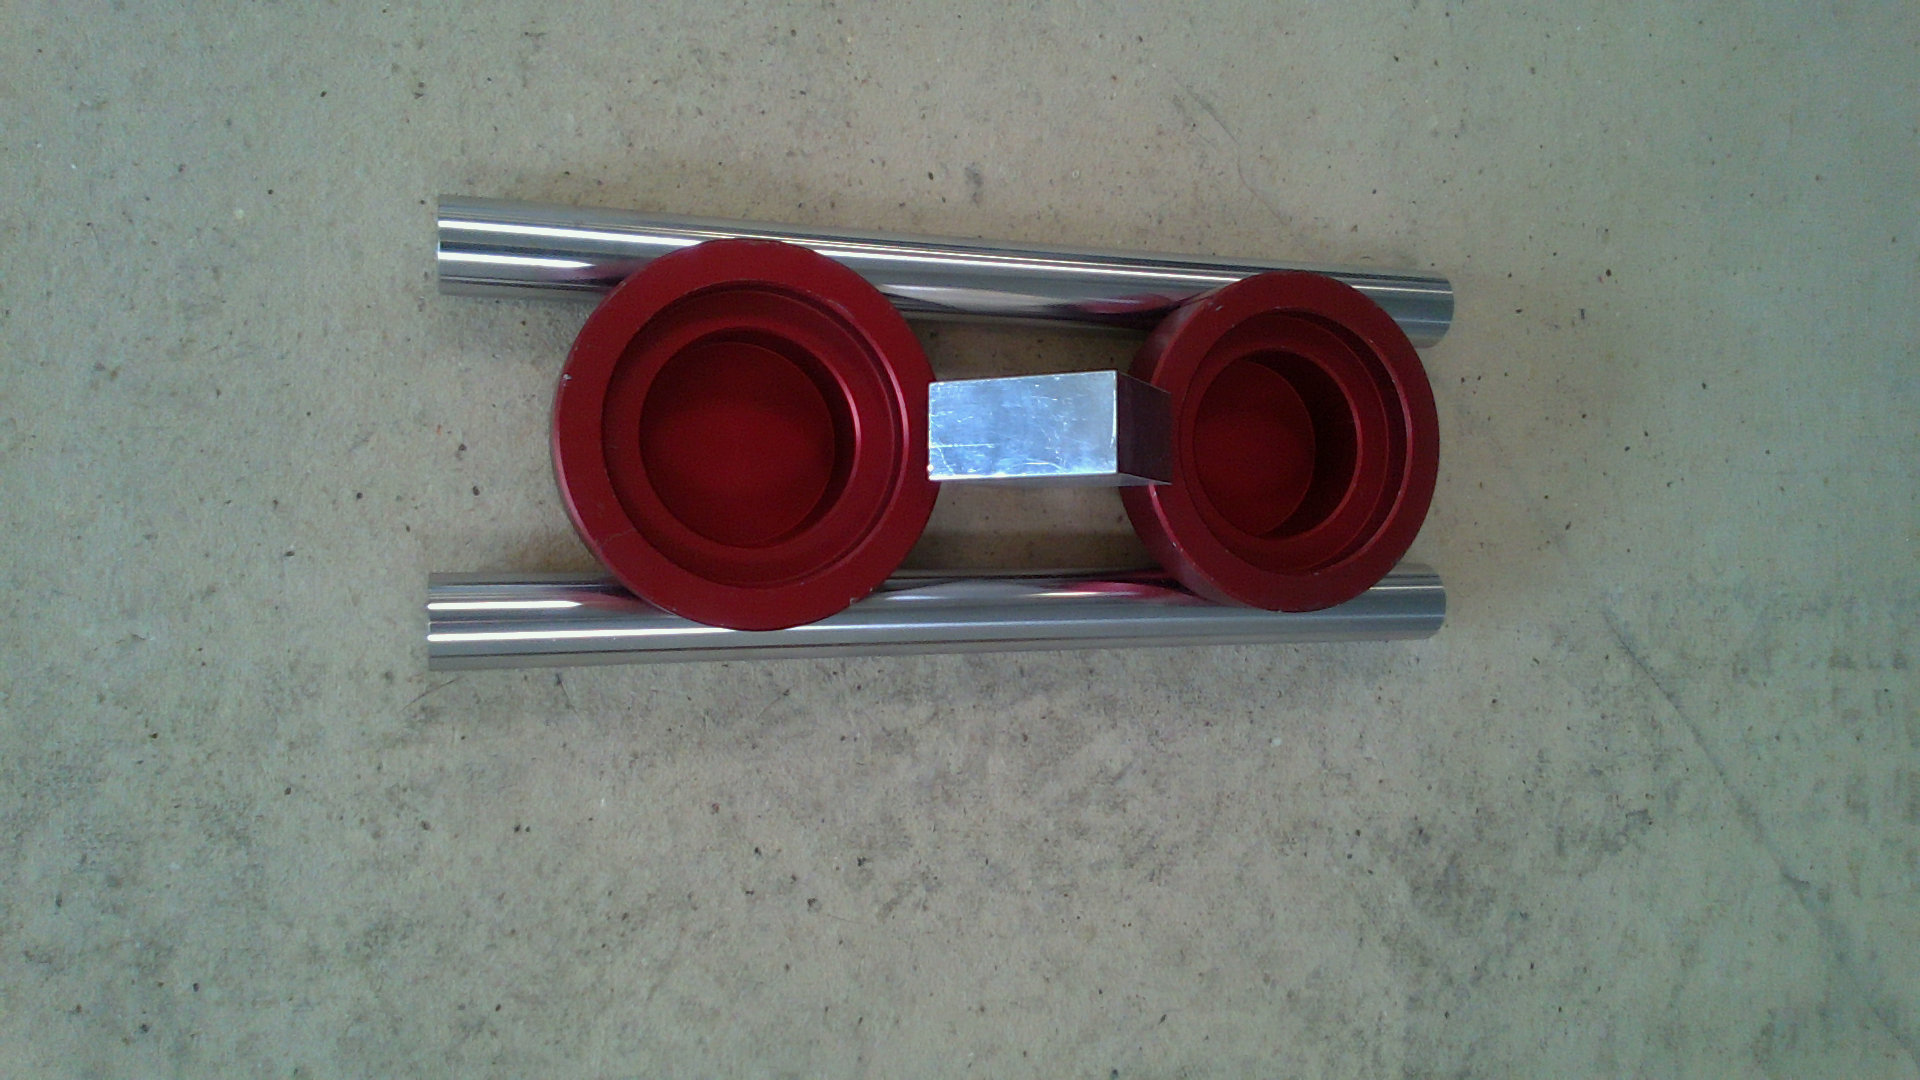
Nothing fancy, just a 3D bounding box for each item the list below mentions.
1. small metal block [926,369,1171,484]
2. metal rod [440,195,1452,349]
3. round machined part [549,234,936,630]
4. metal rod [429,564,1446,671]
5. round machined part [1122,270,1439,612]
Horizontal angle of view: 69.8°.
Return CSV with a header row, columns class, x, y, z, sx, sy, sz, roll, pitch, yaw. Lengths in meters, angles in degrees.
class,x,y,z,sx,sy,sz,roll,pitch,yaw
small metal block,0.024,-0.028,0.361,0.050,0.050,0.025,-1,89,23
metal rod,0.011,-0.074,0.397,0.301,0.025,0.025,0,90,-20
round machined part,-0.057,-0.027,0.359,0.098,0.042,0.098,0,90,-20
metal rod,0.009,0.020,0.396,0.301,0.025,0.025,0,90,-20
round machined part,0.090,-0.028,0.412,0.098,0.042,0.098,0,90,-20
